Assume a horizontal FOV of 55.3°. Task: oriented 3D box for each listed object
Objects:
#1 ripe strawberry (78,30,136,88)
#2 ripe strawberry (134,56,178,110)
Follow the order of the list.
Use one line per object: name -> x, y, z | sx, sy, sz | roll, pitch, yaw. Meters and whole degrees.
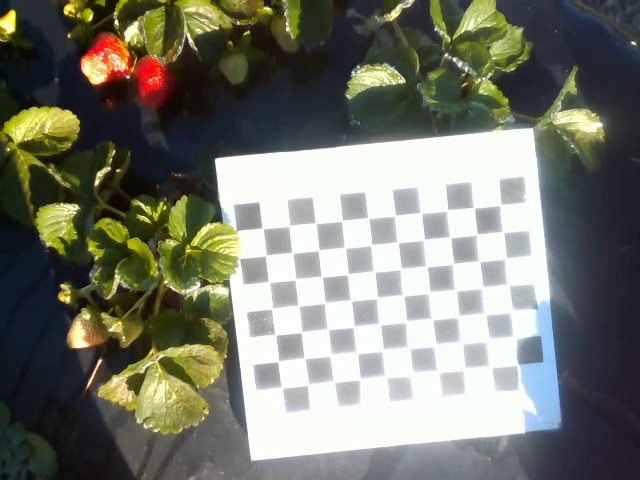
ripe strawberry -> -0.234, -0.194, 0.670 | 0.052, 0.070, 0.040 | 41, -6, -10
ripe strawberry -> -0.184, -0.175, 0.663 | 0.043, 0.059, 0.040 | -6, -2, -1
